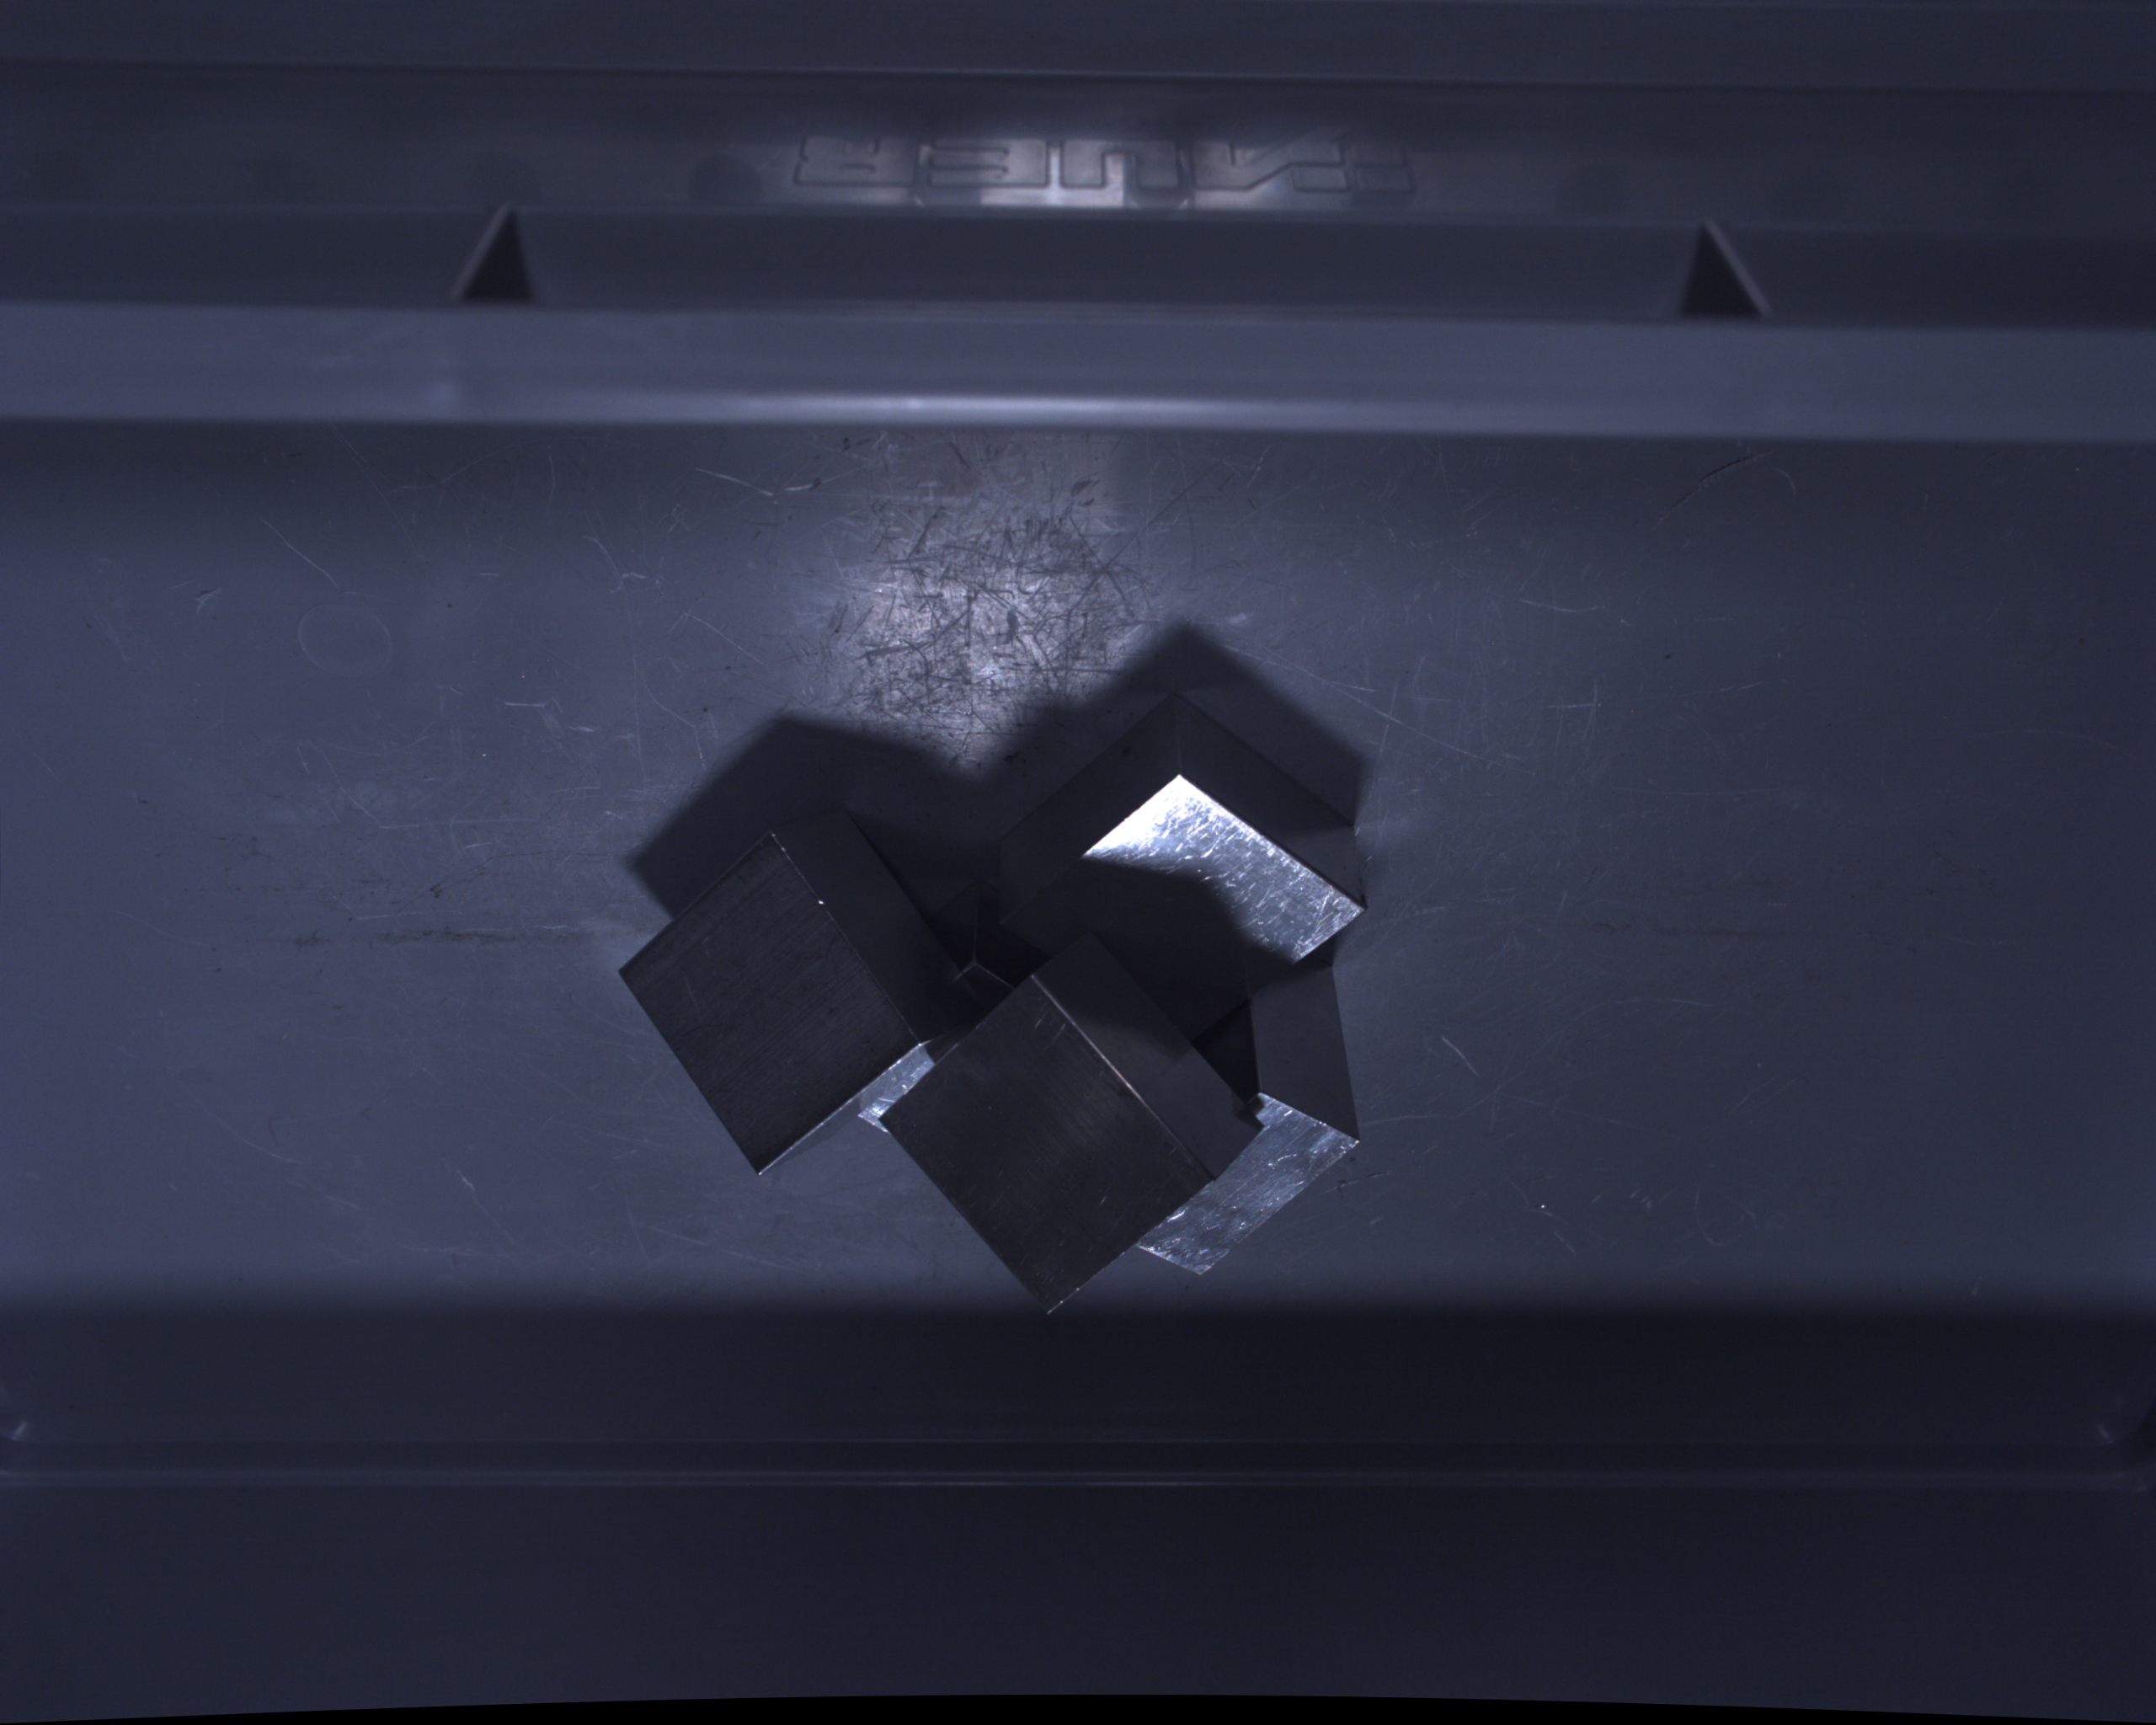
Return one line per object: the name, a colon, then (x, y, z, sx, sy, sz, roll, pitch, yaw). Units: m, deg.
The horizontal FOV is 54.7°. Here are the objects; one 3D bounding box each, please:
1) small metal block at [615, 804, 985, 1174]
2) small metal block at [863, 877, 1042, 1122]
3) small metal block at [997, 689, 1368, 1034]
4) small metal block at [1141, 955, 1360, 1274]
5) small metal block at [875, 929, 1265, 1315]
small metal block: (-0.055, 0.025, 0.411, 0.050, 0.025, 0.050, -40, 82, 28)
small metal block: (-0.019, 0.038, 0.439, 0.050, 0.025, 0.050, 35, 122, -26)
small metal block: (0.020, 0.002, 0.409, 0.050, 0.025, 0.050, 35, 122, -26)
small metal block: (0.030, 0.048, 0.432, 0.025, 0.050, 0.050, 29, 124, -22)
small metal block: (-0.002, 0.050, 0.401, 0.050, 0.025, 0.050, 49, 121, 5)
